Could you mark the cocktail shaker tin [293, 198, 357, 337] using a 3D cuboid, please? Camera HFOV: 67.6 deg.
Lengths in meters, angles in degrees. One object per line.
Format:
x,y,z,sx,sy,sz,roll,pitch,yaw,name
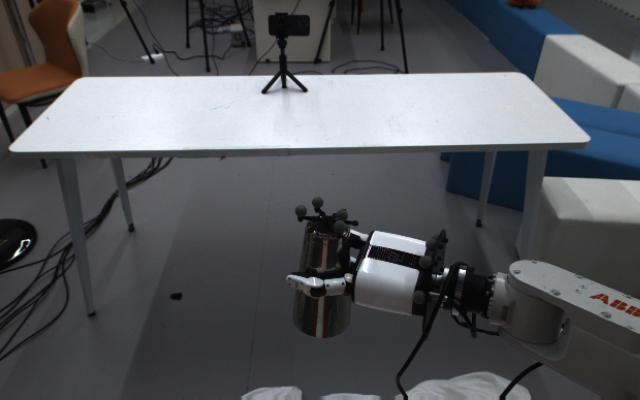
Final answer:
0.008,0.112,0.737,0.093,0.170,0.093,2,25,-1,cocktail shaker tin
